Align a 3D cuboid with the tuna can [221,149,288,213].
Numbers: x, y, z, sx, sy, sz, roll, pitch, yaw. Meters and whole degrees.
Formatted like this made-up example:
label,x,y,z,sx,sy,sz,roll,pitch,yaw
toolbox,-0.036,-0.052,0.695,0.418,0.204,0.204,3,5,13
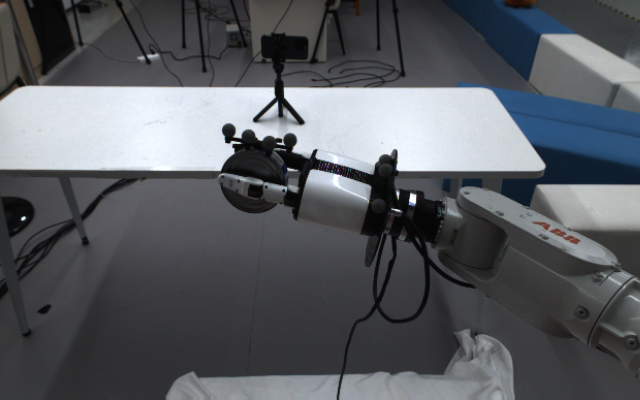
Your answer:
label,x,y,z,sx,sy,sz,roll,pitch,yaw
tuna can,-0.084,-0.029,0.635,0.085,0.085,0.034,5,18,5
